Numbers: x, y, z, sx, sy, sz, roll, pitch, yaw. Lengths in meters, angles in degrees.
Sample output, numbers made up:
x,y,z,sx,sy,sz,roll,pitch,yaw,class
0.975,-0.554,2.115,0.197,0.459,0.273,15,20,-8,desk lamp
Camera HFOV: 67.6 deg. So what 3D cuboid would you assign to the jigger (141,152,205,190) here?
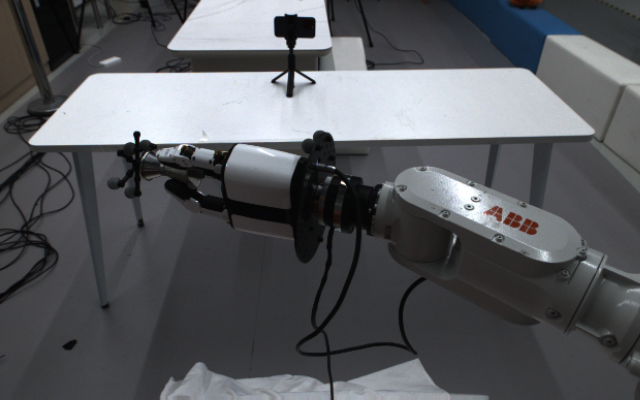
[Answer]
x,y,z,sx,sy,sz,roll,pitch,yaw,class
-0.188,-0.043,0.633,0.071,0.043,0.043,8,35,12,jigger
